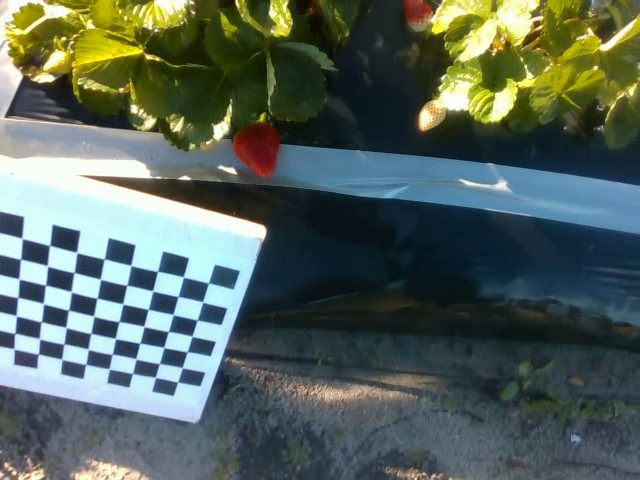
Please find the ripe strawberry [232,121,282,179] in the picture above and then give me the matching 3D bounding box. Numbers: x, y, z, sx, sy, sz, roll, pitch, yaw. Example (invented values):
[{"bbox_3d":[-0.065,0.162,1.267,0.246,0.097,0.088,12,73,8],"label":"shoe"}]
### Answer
[{"bbox_3d":[-0.055,-0.081,0.547,0.045,0.064,0.048,-40,-35,27],"label":"ripe strawberry"}]
